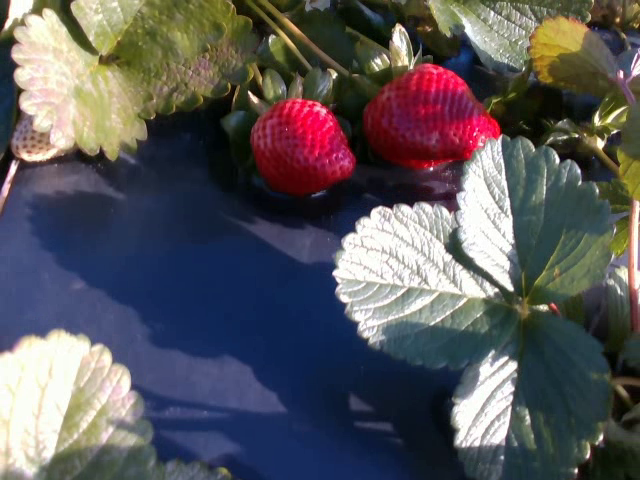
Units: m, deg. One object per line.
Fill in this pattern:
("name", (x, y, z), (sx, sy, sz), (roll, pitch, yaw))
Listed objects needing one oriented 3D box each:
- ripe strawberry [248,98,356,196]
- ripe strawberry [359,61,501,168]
("ripe strawberry", (-0.004, -0.031, 0.209), (0.051, 0.043, 0.037), (36, -8, 41))
("ripe strawberry", (0.047, -0.043, 0.227), (0.057, 0.052, 0.046), (43, -10, 44))
